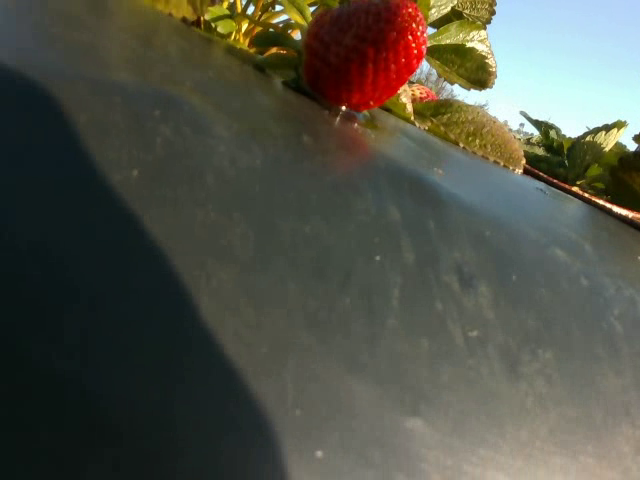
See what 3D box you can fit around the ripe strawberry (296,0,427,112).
[{"bbox_3d":[0.011,-0.043,0.132,0.028,0.031,0.041,-11,-2,-30],"label":"ripe strawberry"}]
